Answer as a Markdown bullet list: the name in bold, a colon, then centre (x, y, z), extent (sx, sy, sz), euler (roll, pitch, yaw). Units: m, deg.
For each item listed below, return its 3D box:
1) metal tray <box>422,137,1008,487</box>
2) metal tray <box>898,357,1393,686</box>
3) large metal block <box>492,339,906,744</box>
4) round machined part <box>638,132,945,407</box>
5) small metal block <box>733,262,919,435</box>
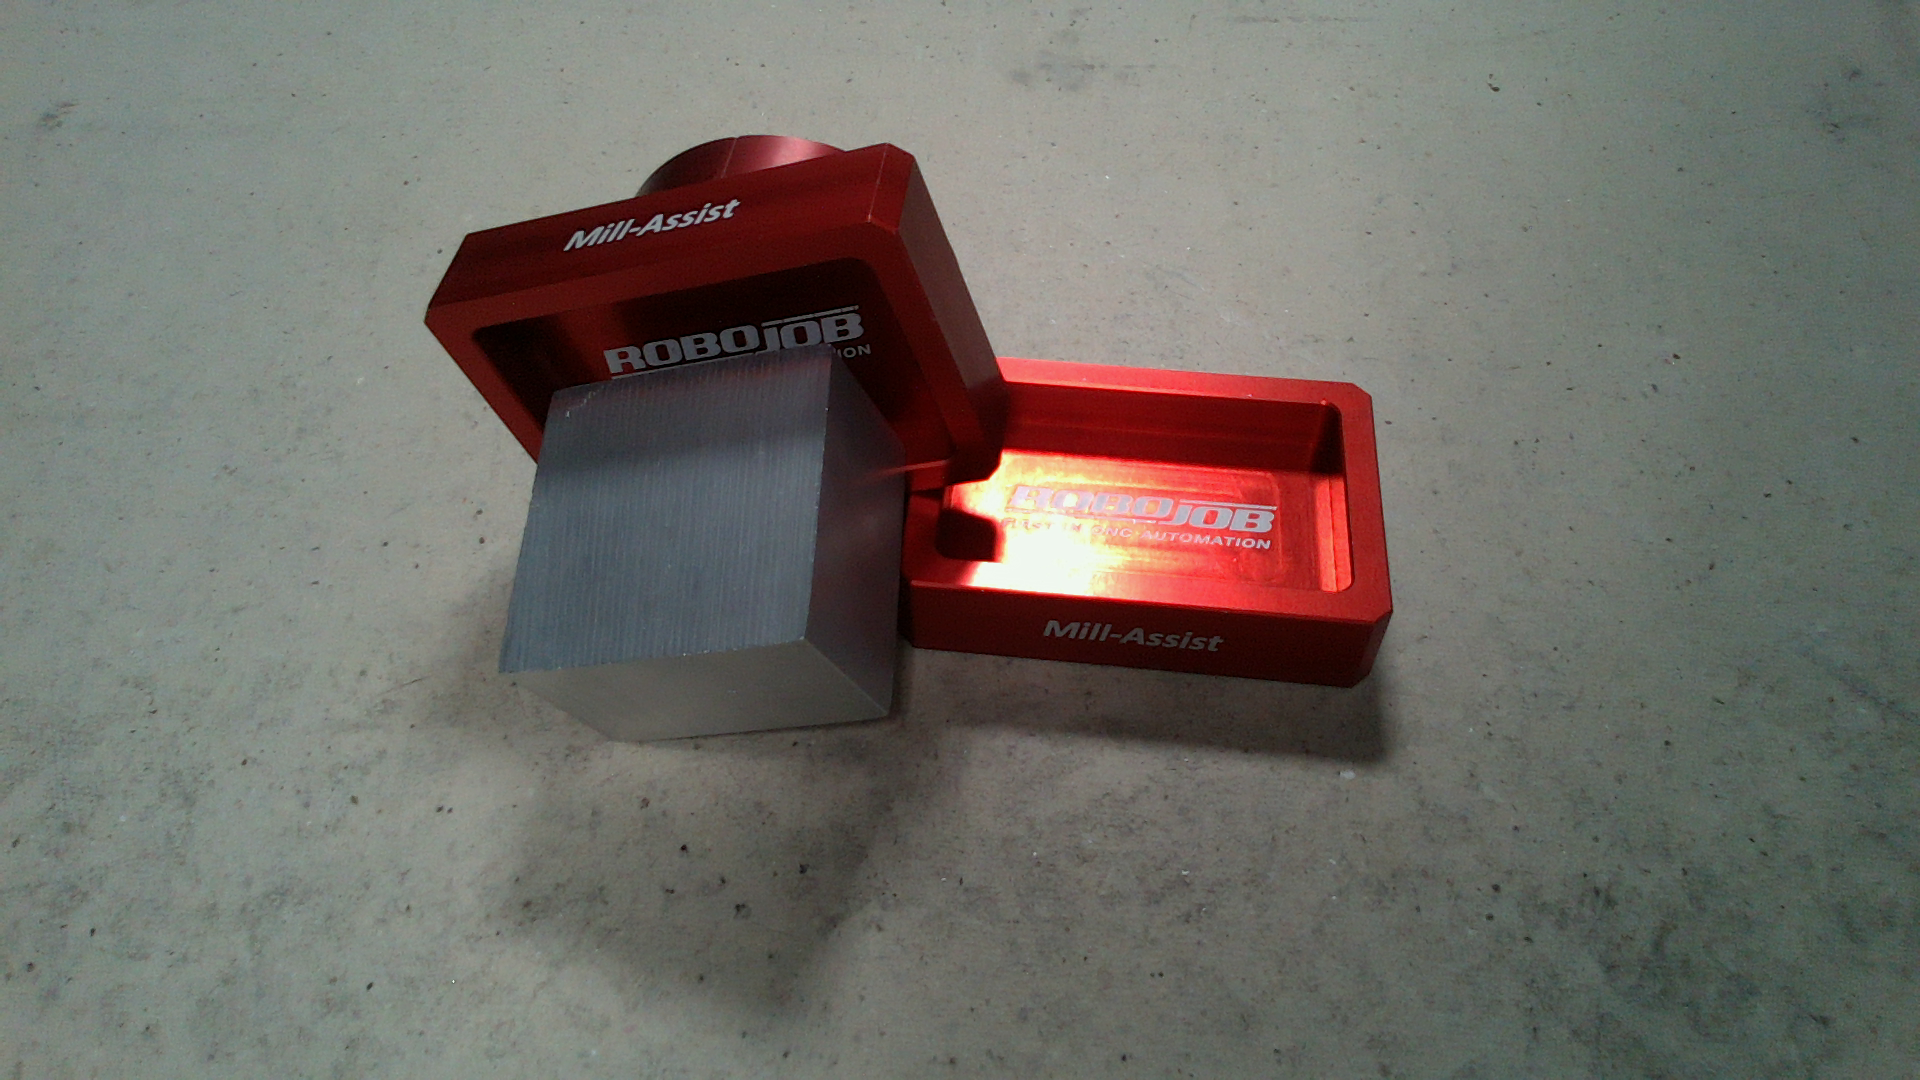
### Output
- **metal tray**: centre (-0.062, -0.049, 0.369), extent (0.130, 0.090, 0.030), euler (-7, 48, 18)
- **metal tray**: centre (0.052, -0.009, 0.396), extent (0.130, 0.030, 0.090), euler (5, 50, 4)
- **large metal block**: centre (-0.062, 0.002, 0.349), extent (0.080, 0.050, 0.080), euler (-7, 61, 17)
- **round machined part**: centre (-0.048, -0.074, 0.393), extent (0.098, 0.098, 0.042), euler (5, 50, 4)
- **small metal block**: centre (-0.042, -0.063, 0.445), extent (0.050, 0.025, 0.050), euler (5, 50, 4)
